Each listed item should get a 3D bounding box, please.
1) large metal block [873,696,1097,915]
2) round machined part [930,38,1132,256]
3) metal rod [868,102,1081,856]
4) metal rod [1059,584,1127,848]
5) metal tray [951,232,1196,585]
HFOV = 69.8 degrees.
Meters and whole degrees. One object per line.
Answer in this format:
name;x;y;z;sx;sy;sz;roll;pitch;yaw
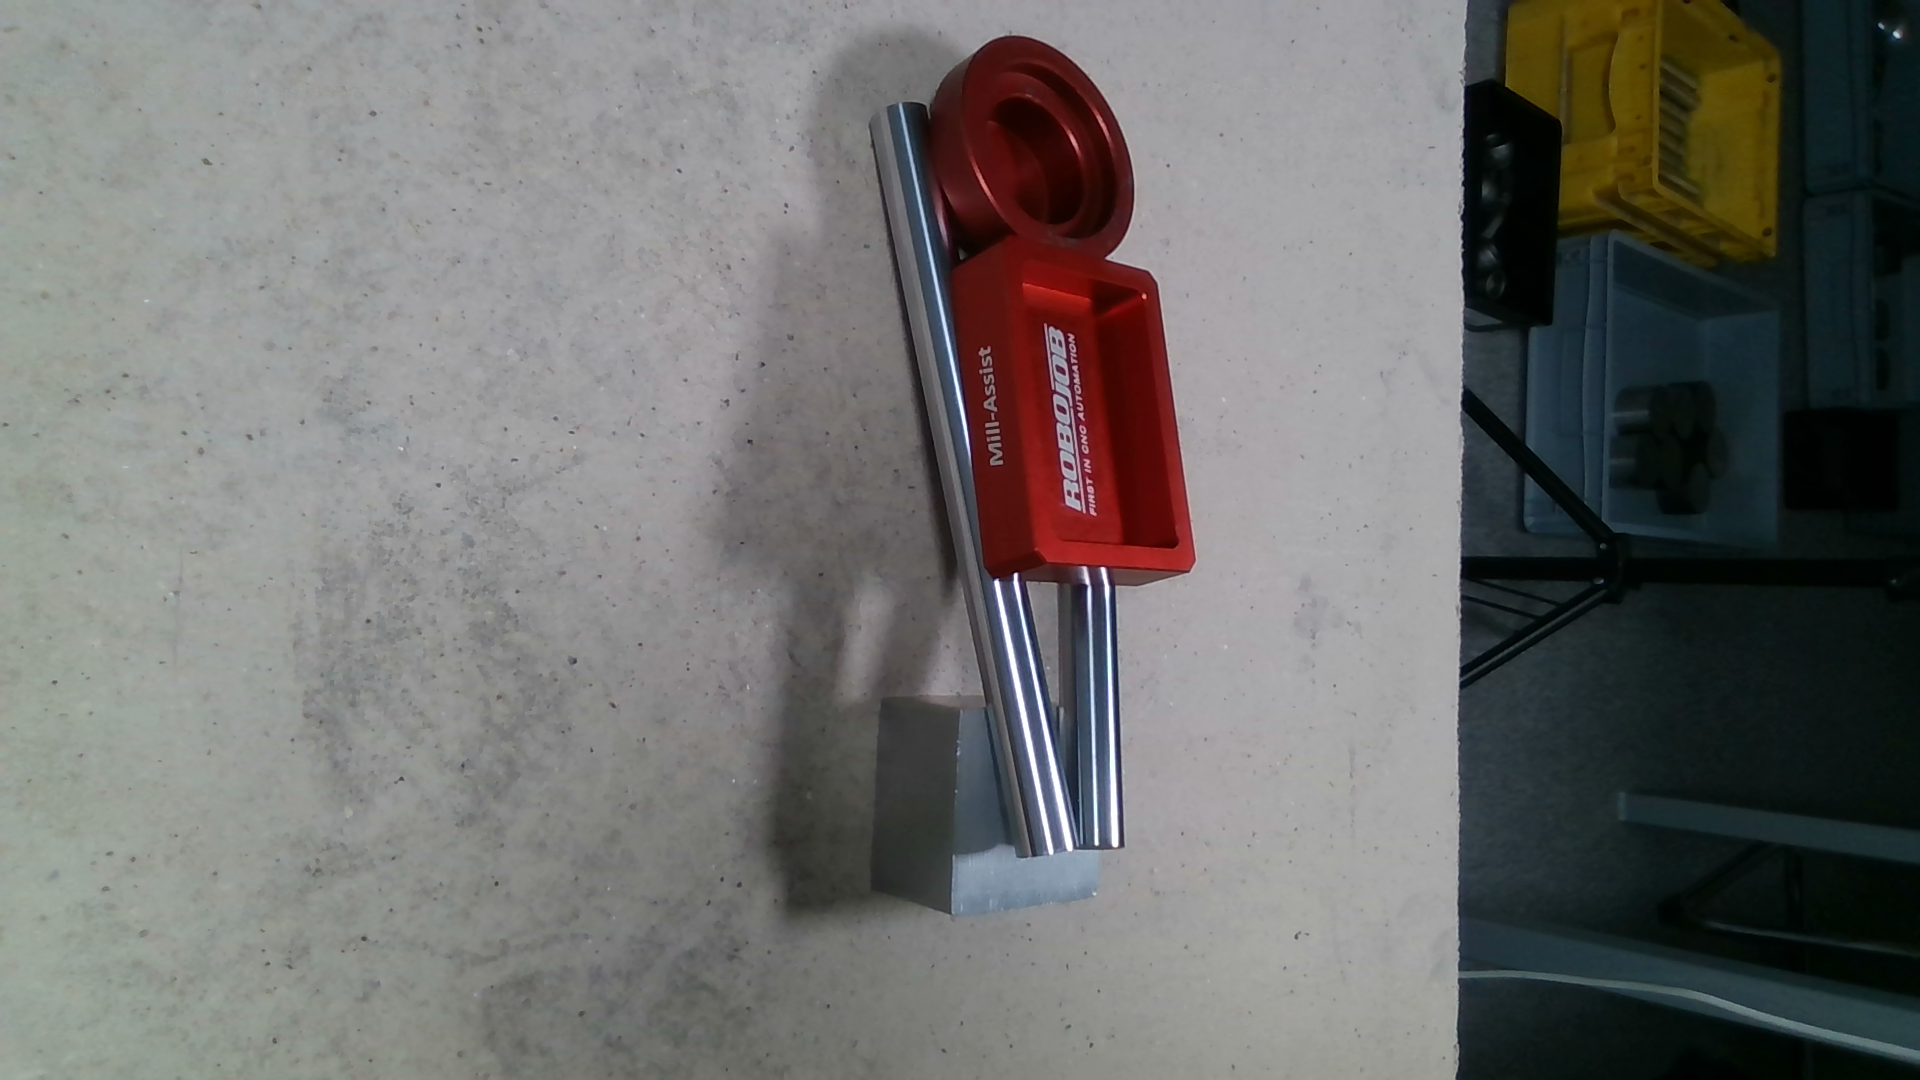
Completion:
large metal block;0.013;0.107;0.576;0.080;0.050;0.080;5;87;-40
round machined part;0.025;-0.157;0.586;0.098;0.042;0.098;11;72;-39
metal rod;0.004;-0.027;0.545;0.025;0.025;0.300;-6;81;-40
metal rod;0.053;-0.023;0.586;0.025;0.025;0.299;14;68;-39
metal tray;0.046;-0.050;0.551;0.090;0.030;0.130;4;75;-40
